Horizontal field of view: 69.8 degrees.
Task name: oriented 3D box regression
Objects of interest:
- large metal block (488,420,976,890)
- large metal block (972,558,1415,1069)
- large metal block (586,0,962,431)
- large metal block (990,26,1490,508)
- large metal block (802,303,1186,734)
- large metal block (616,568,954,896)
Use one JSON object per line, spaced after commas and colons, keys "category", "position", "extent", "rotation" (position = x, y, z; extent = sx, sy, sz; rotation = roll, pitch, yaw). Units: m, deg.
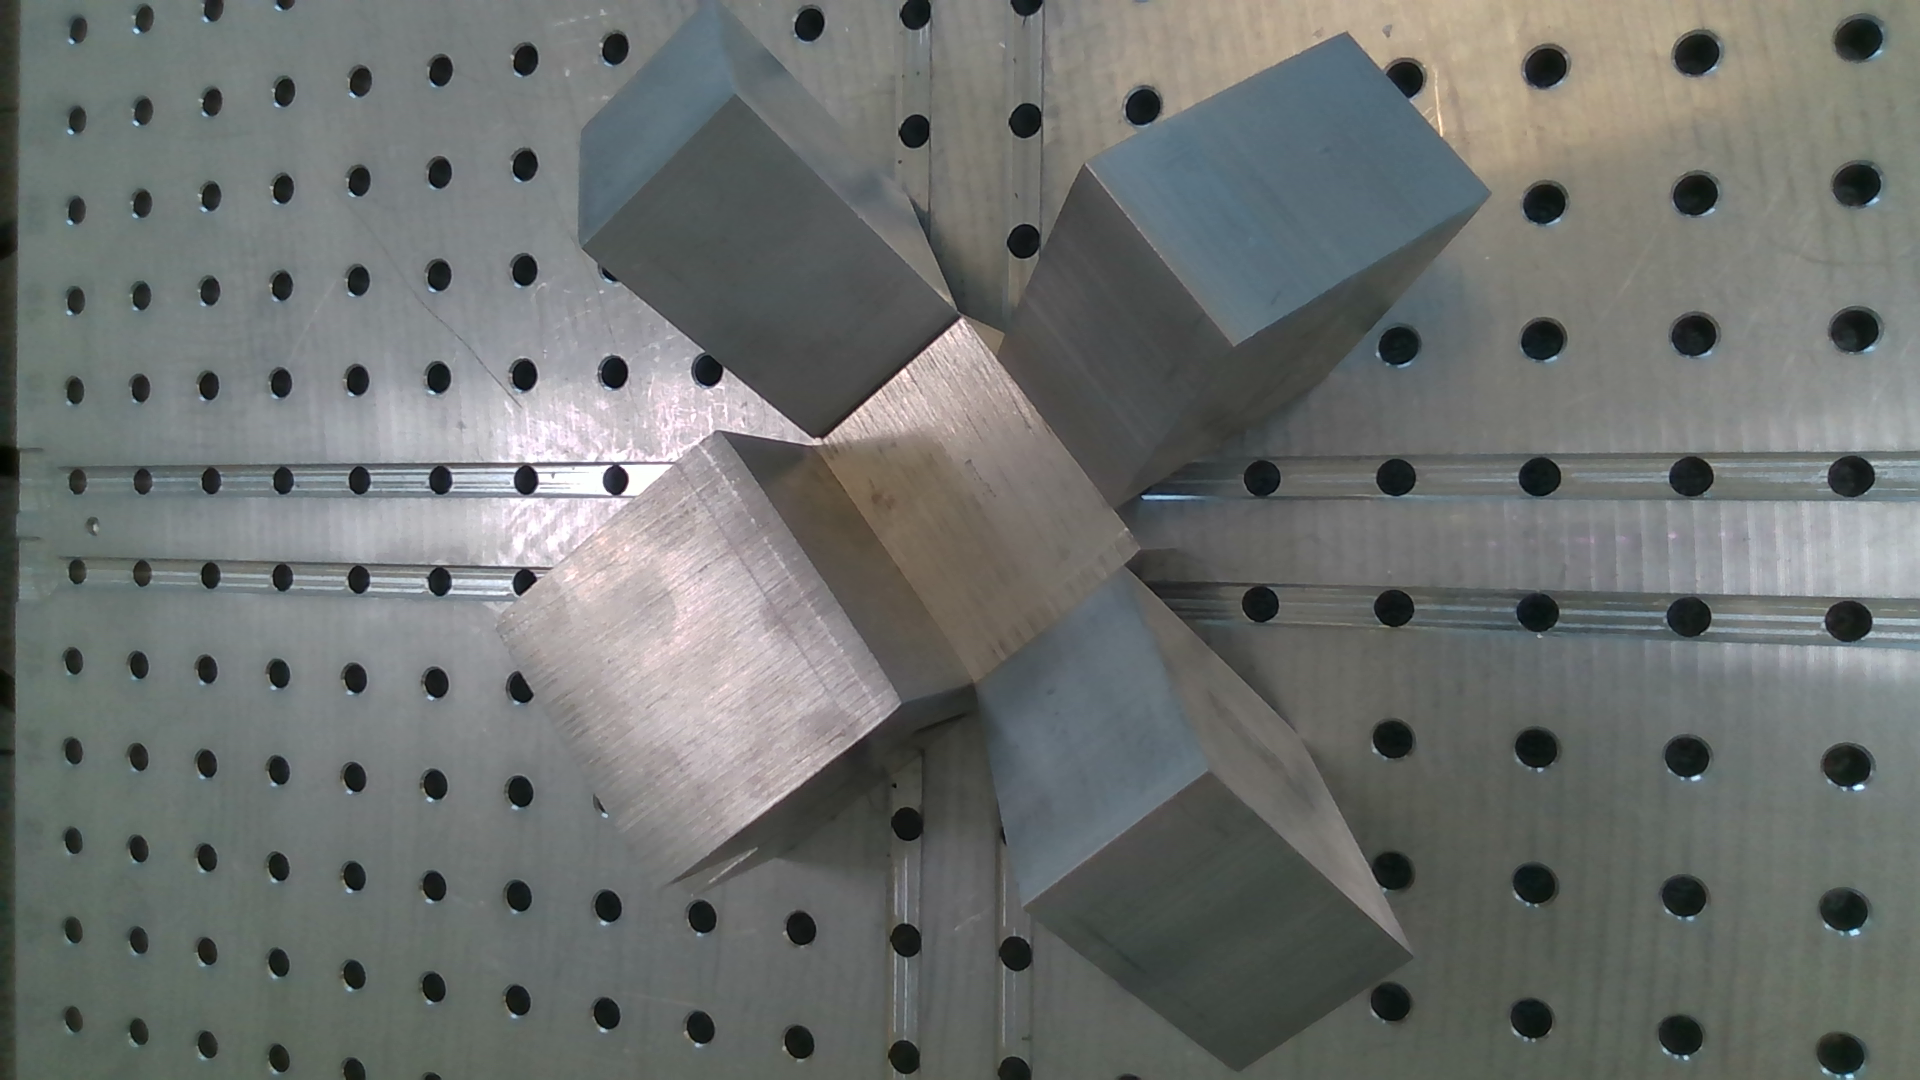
{"category": "large metal block", "position": [-0.057, 0.028, 0.350], "extent": [0.080, 0.050, 0.080], "rotation": [-39, 79, 17]}
{"category": "large metal block", "position": [0.053, 0.064, 0.332], "extent": [0.050, 0.080, 0.080], "rotation": [-40, 117, 15]}
{"category": "large metal block", "position": [-0.052, -0.089, 0.369], "extent": [0.050, 0.080, 0.080], "rotation": [-40, 36, 15]}
{"category": "large metal block", "position": [0.062, -0.062, 0.327], "extent": [0.080, 0.080, 0.050], "rotation": [-31, 77, -22]}
{"category": "large metal block", "position": [0.002, -0.005, 0.382], "extent": [0.080, 0.050, 0.080], "rotation": [-40, 77, 16]}
{"category": "large metal block", "position": [-0.060, 0.043, 0.404], "extent": [0.080, 0.050, 0.080], "rotation": [-38, 79, 15]}
